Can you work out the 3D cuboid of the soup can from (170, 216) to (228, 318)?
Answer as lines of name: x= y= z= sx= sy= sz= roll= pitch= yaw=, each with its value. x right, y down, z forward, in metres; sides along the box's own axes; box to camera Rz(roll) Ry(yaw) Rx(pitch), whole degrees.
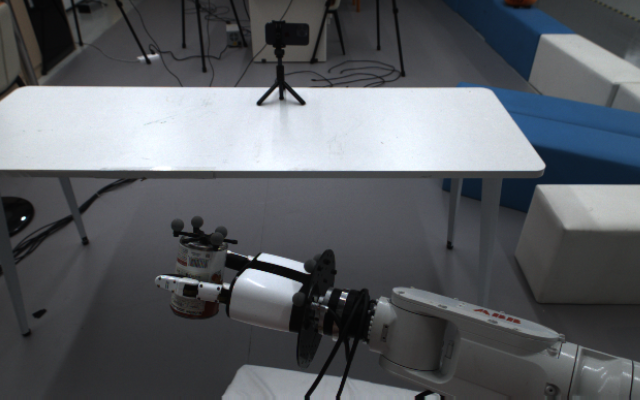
soup can: x=-0.166 y=0.107 z=0.673 sx=0.067 sy=0.101 sz=0.067 roll=10 pitch=9 yaw=-2
